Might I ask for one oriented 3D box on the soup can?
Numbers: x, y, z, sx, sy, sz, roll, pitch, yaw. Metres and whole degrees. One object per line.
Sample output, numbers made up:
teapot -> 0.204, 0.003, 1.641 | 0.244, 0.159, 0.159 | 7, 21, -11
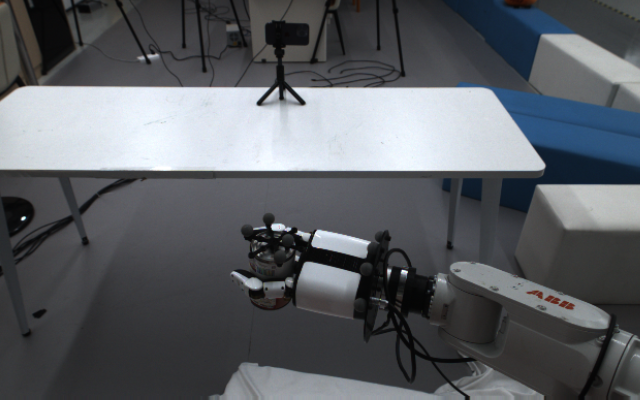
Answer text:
soup can -> -0.070, 0.106, 0.712 | 0.067, 0.101, 0.067 | 5, 36, -3
